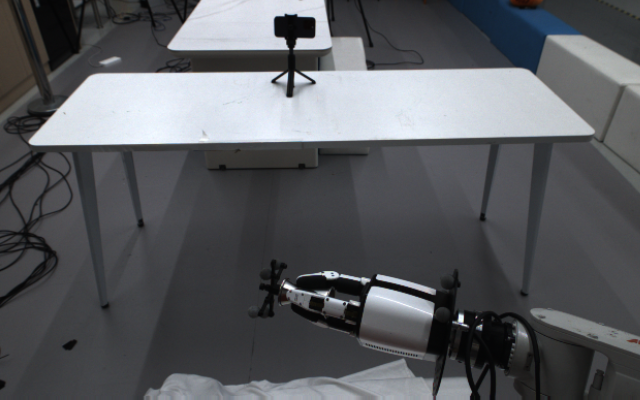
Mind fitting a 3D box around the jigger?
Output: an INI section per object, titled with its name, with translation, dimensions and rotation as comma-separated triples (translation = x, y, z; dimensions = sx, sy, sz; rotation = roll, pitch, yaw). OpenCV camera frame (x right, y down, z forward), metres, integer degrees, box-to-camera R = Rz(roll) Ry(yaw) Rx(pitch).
[jigger]
translation = -0.012, 0.129, 0.656
dimensions = 0.071, 0.043, 0.043
rotation = 10, 35, 16
